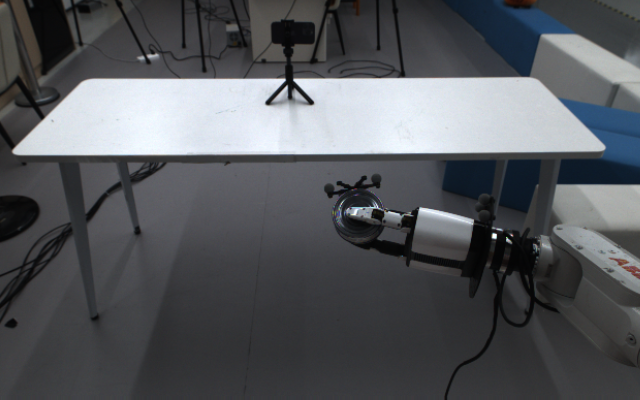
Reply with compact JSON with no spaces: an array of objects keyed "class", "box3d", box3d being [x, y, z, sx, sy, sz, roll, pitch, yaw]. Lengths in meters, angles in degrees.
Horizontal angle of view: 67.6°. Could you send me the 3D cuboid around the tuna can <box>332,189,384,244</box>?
[{"class":"tuna can","box3d":[0.066,0.032,0.776,0.085,0.034,0.085,-4,68,9]}]
